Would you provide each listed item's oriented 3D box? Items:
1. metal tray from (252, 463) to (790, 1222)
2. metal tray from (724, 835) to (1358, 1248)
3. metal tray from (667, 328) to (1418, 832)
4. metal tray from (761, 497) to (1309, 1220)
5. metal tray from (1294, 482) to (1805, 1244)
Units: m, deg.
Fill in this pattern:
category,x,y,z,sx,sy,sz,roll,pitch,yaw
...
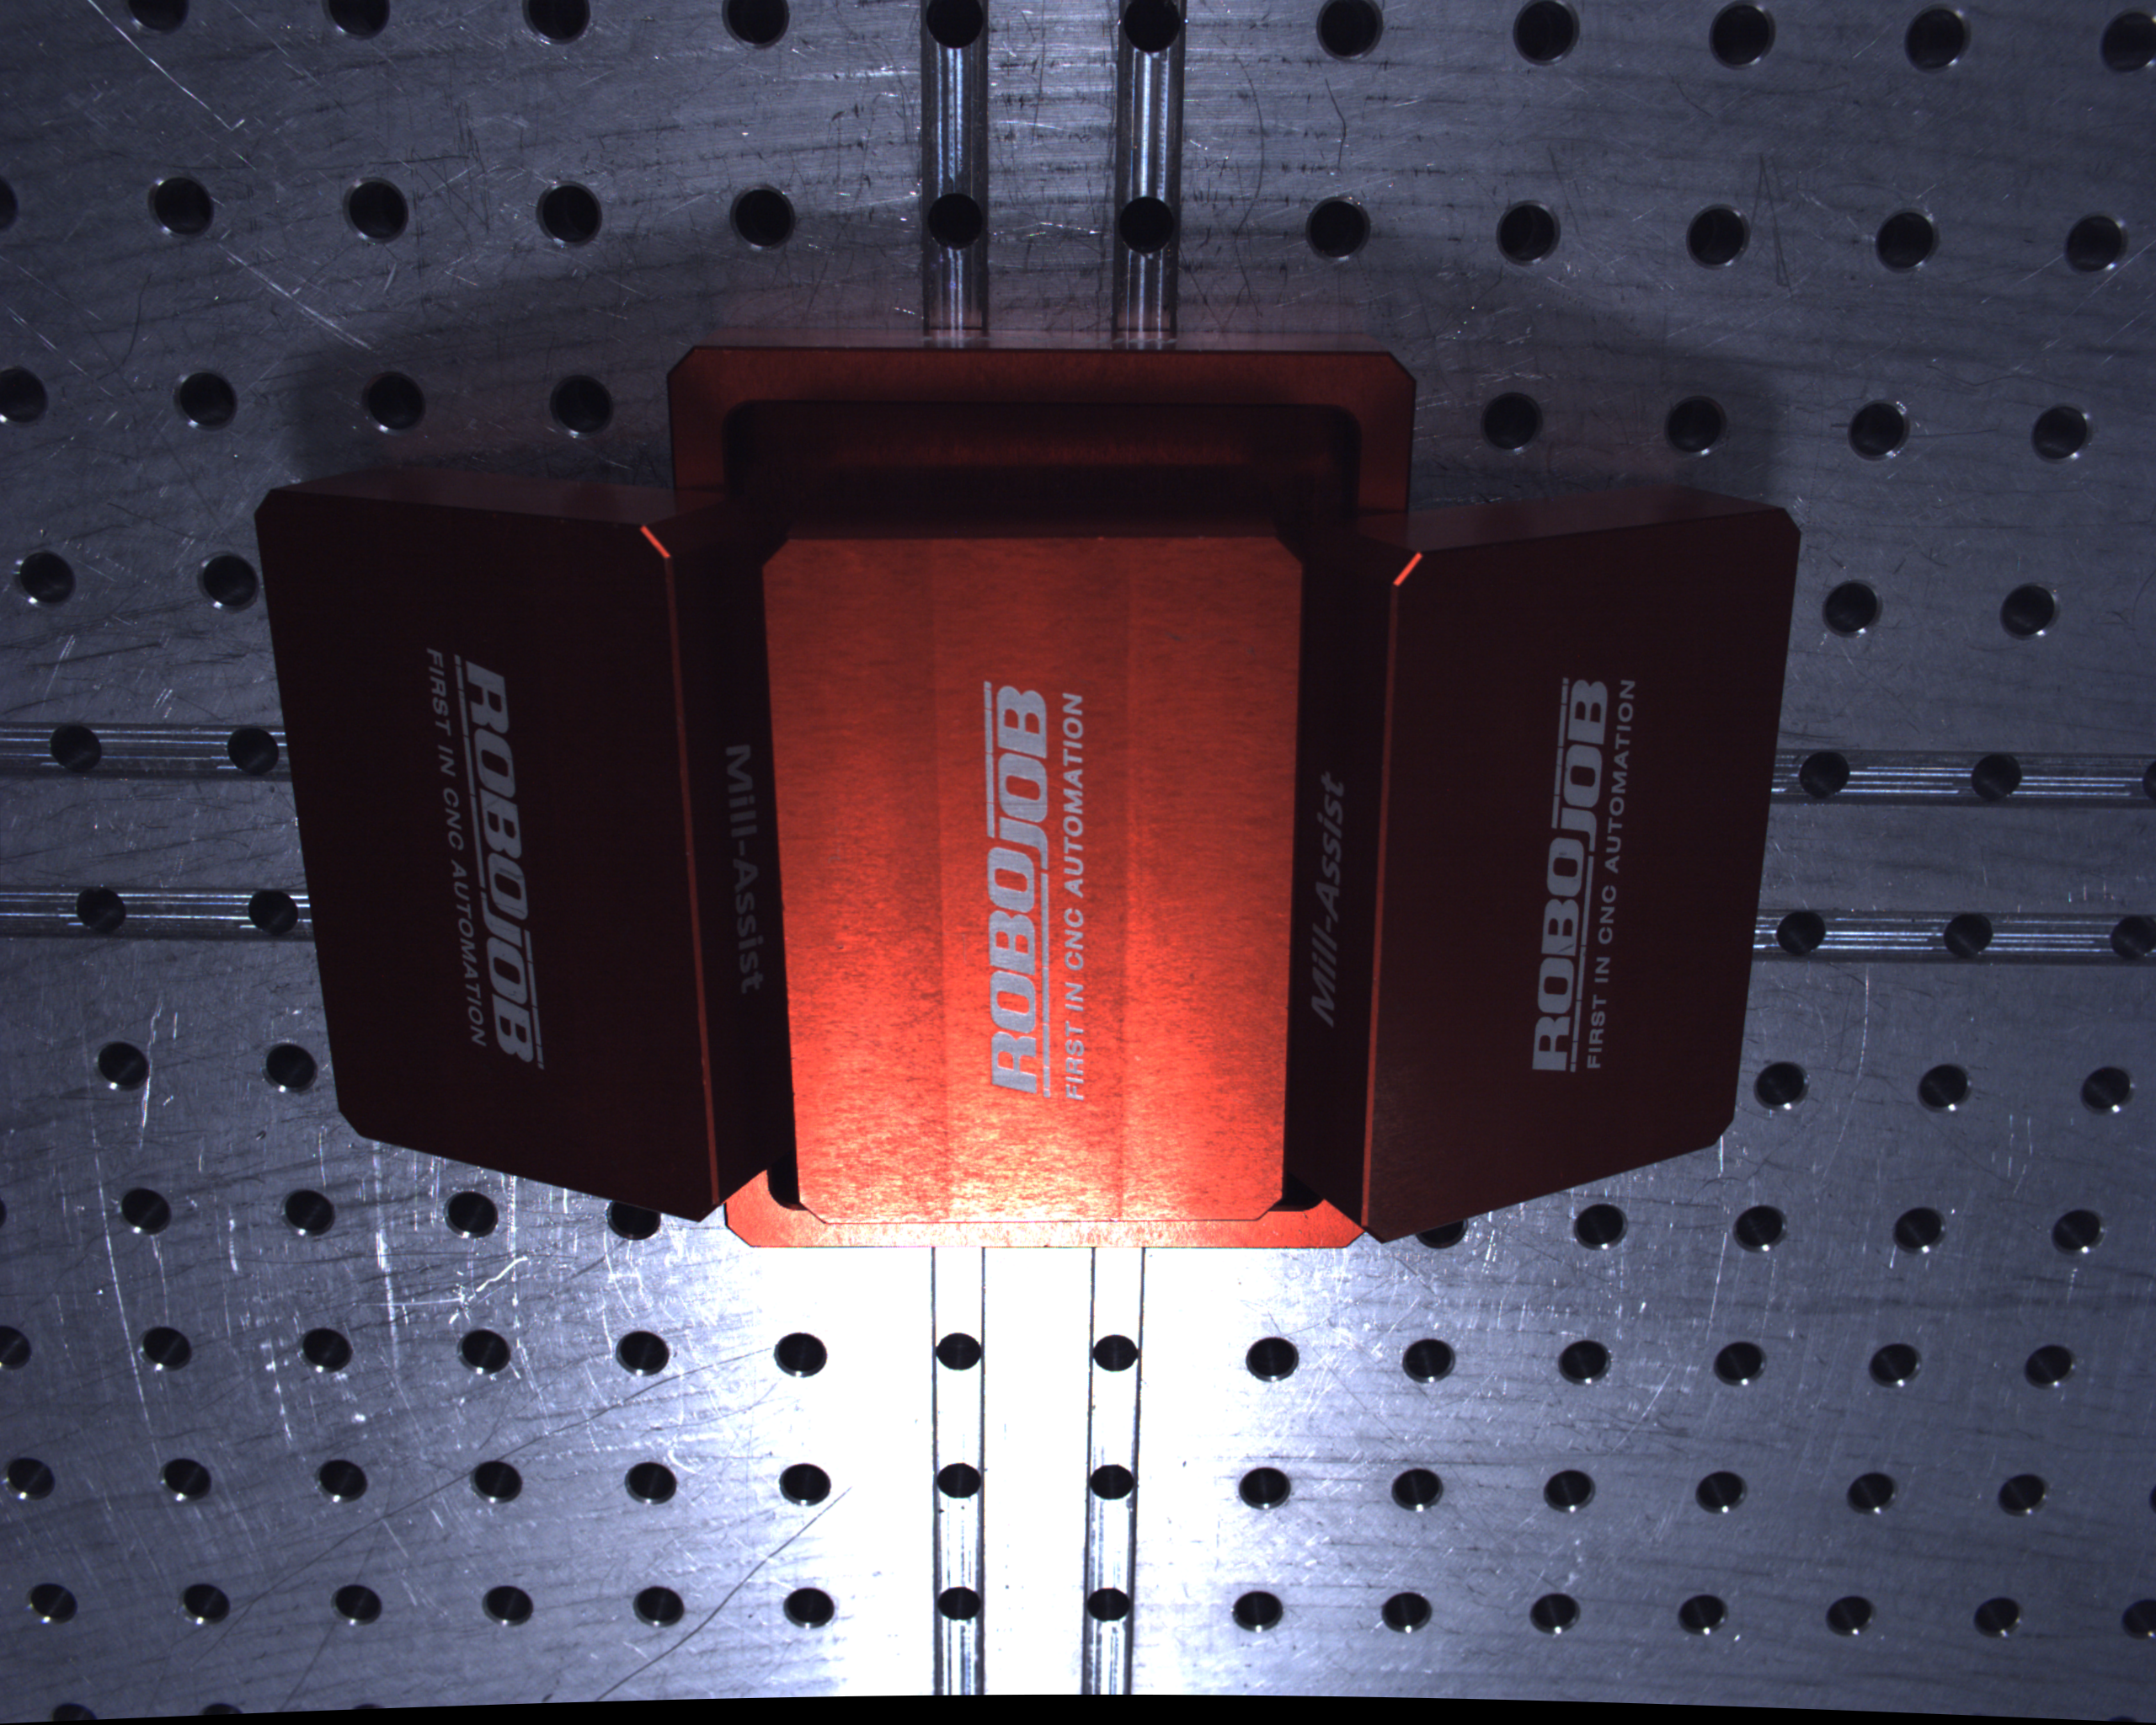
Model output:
category,x,y,z,sx,sy,sz,roll,pitch,yaw
metal tray,-0.101,-0.005,0.388,0.090,0.030,0.129,9,113,24
metal tray,-0.006,0.032,0.423,0.131,0.030,0.089,0,111,-1
metal tray,-0.006,-0.053,0.391,0.131,0.030,0.089,0,111,-1
metal tray,-0.007,0.001,0.378,0.091,0.030,0.129,0,110,-1
metal tray,0.086,-0.001,0.391,0.091,0.030,0.129,-11,113,-26
